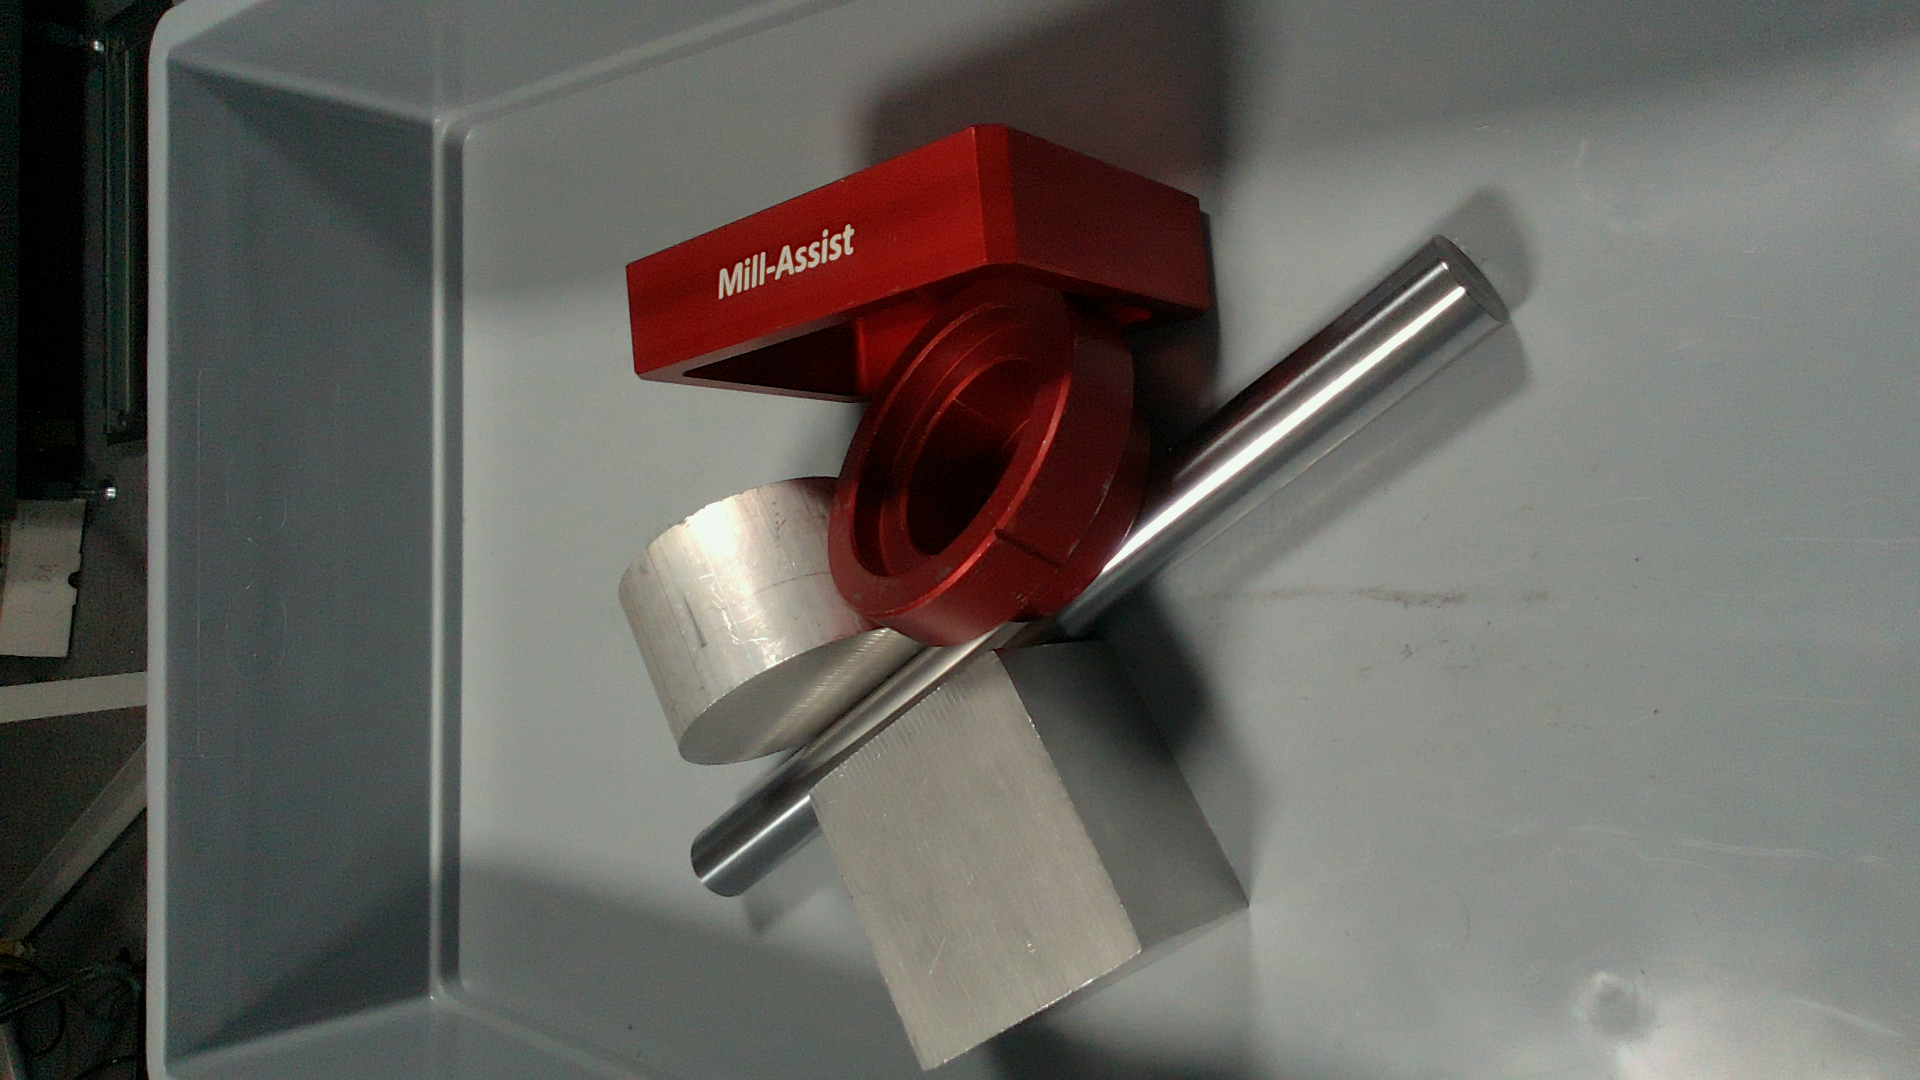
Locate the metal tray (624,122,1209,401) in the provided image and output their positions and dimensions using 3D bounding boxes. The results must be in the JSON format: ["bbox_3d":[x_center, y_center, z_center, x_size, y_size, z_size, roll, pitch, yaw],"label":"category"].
[{"bbox_3d":[-0.013,-0.066,0.360,0.129,0.090,0.030,-9,84,39],"label":"metal tray"}]

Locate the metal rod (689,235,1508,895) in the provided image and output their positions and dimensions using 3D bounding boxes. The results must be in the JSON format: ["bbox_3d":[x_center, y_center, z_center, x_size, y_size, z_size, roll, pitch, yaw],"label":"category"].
[{"bbox_3d":[0.016,0.025,0.380,0.299,0.025,0.025,-41,65,33],"label":"metal rod"}]

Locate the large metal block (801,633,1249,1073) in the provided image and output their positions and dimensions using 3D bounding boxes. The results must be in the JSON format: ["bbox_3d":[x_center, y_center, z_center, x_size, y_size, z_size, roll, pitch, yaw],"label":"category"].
[{"bbox_3d":[0.015,0.081,0.363,0.080,0.050,0.080,-40,65,33],"label":"large metal block"}]

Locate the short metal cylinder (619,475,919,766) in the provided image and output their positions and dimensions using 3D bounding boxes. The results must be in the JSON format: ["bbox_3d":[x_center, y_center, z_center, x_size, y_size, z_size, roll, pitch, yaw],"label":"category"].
[{"bbox_3d":[-0.053,0.025,0.402,0.080,0.080,0.050,-41,65,32],"label":"short metal cylinder"}]

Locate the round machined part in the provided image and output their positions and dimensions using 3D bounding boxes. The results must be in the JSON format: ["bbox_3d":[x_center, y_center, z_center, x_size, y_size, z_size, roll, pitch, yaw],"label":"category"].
[{"bbox_3d":[0.011,-0.018,0.355,0.098,0.042,0.098,-36,39,36],"label":"round machined part"}]
